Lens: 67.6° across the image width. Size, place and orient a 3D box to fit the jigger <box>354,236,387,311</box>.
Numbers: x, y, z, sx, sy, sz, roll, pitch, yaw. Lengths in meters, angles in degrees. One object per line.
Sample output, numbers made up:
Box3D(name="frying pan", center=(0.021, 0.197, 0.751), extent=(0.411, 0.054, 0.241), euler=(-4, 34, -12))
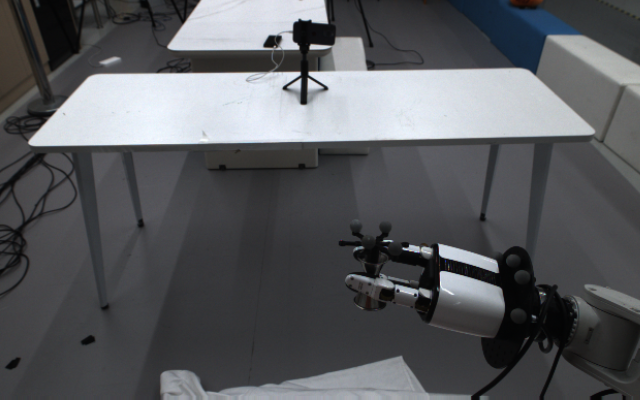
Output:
Box3D(name="jigger", center=(0.067, 0.103, 0.636), extent=(0.043, 0.071, 0.043), euler=(1, 20, 0))
